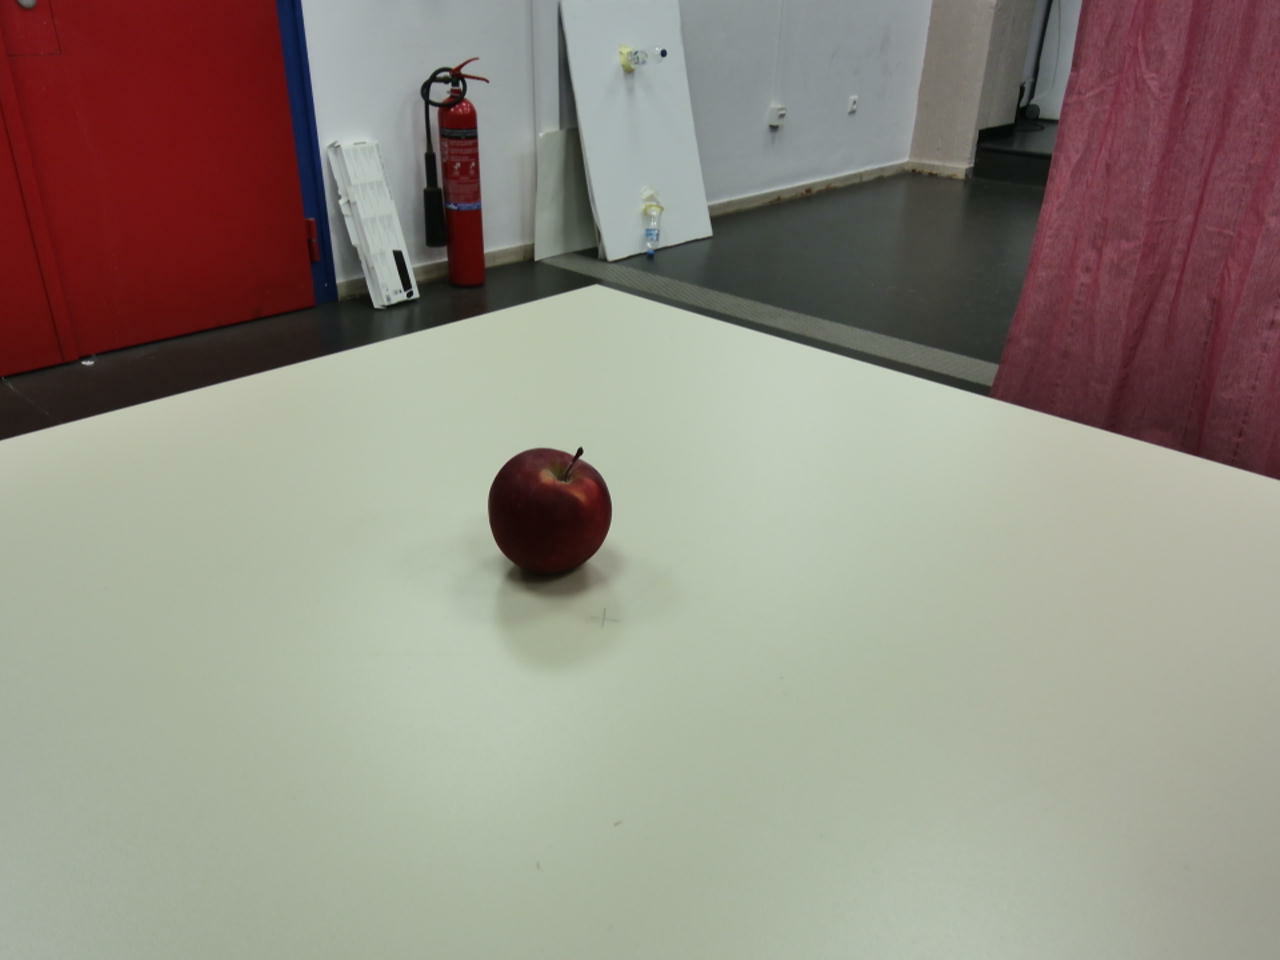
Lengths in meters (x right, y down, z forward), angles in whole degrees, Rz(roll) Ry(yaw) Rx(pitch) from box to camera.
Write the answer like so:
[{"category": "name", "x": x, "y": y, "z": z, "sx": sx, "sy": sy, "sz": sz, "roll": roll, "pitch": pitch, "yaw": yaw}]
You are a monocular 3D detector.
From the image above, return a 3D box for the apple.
[{"category": "apple", "x": -0.051, "y": 0.017, "z": 0.565, "sx": 0.070, "sy": 0.072, "sz": 0.070, "roll": 1, "pitch": 25, "yaw": 0}]
